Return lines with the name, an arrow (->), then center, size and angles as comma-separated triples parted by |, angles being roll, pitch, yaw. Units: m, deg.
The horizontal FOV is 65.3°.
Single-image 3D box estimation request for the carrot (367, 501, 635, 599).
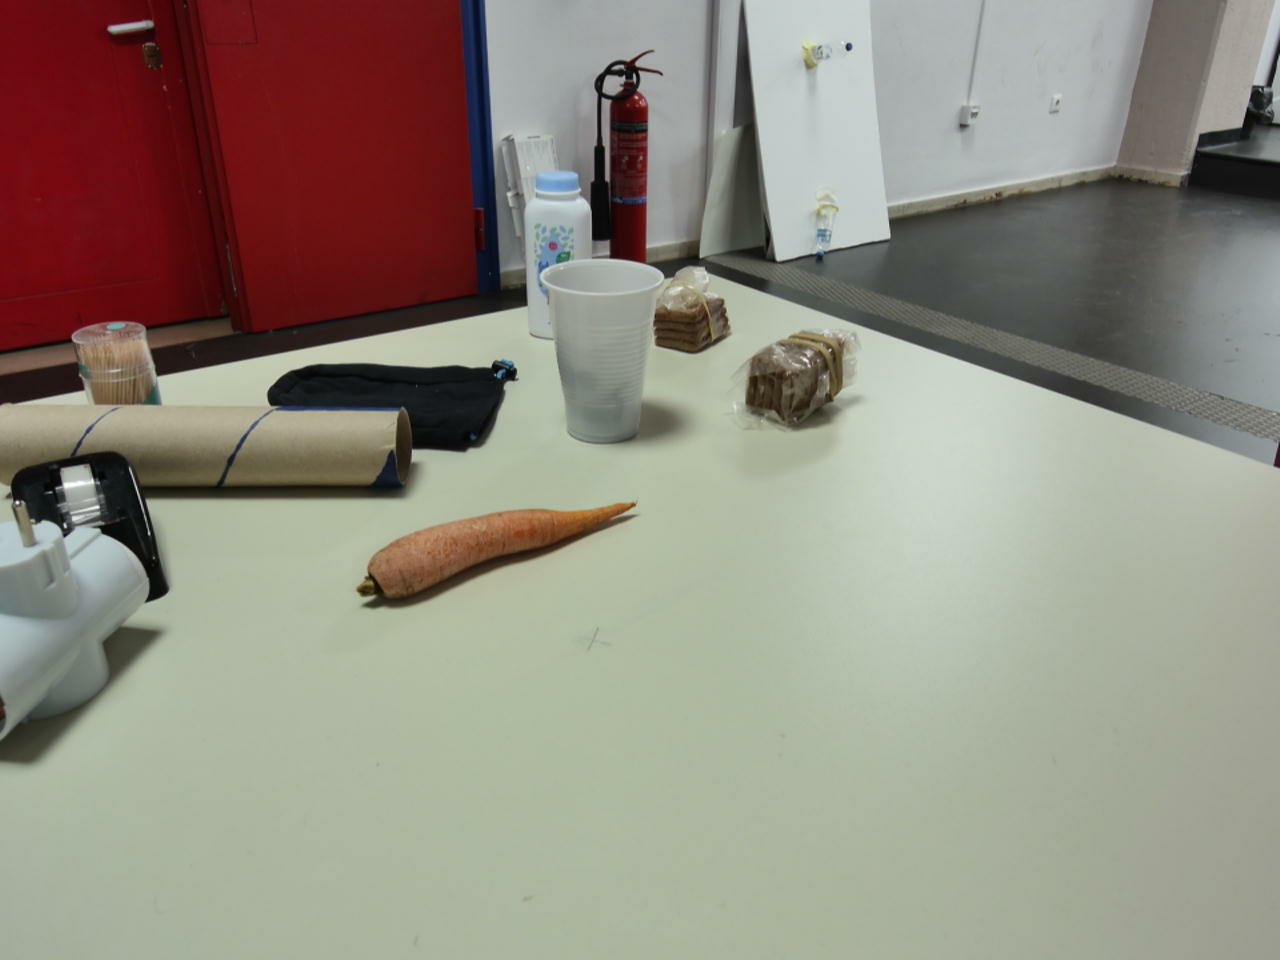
carrot -> -0.072, 0.028, 0.536 | 0.163, 0.029, 0.031 | -18, 30, -33
